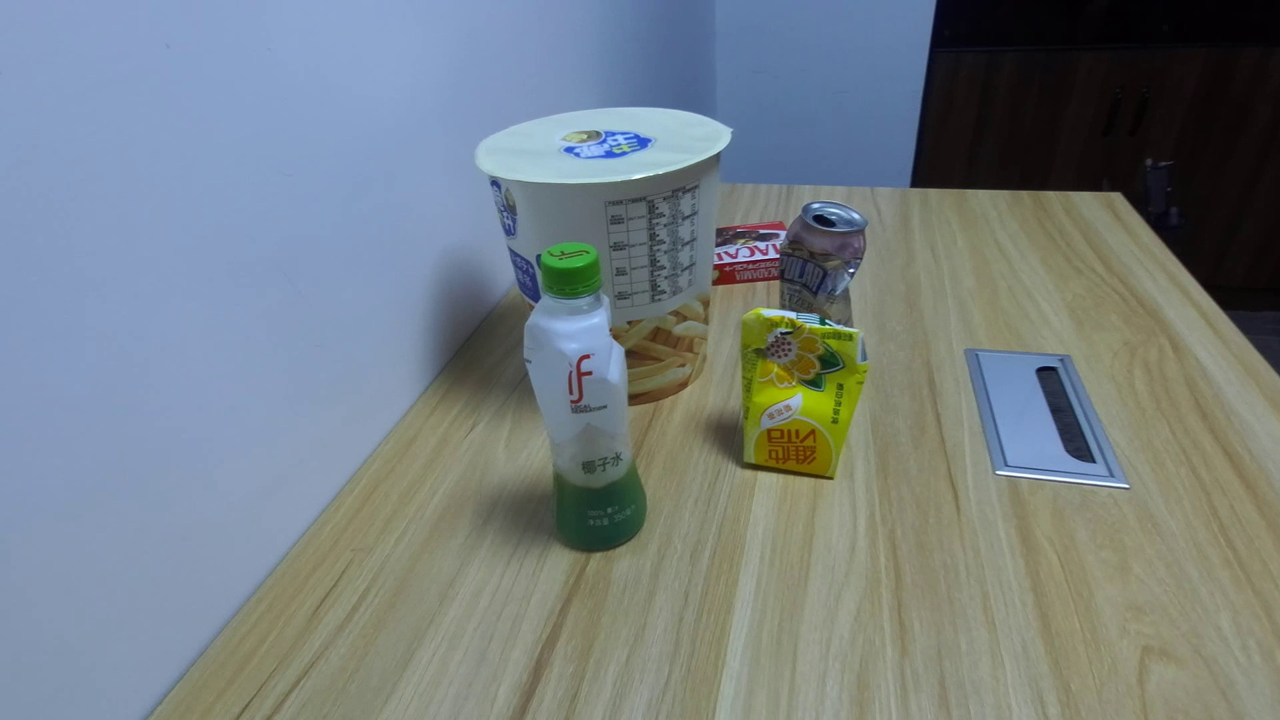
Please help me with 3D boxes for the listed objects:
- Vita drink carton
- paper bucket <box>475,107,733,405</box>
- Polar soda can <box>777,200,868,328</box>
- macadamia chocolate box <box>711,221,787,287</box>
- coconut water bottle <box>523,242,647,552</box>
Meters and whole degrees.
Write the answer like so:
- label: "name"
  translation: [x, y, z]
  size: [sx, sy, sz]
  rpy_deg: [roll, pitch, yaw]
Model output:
- label: "Vita drink carton"
  translation: [0.108, 0.019, 0.484]
  size: [0.087, 0.108, 0.042]
  rpy_deg: [9, 22, 13]
- label: "paper bucket"
  translation: [-0.020, -0.083, 0.575]
  size: [0.198, 0.195, 0.198]
  rpy_deg: [-3, 33, 3]
- label: "Polar soda can"
  translation: [0.159, -0.067, 0.603]
  size: [0.067, 0.122, 0.070]
  rpy_deg: [-16, 34, -28]
- label: "macadamia chocolate box"
  translation: [0.078, -0.113, 0.767]
  size: [0.183, 0.028, 0.105]
  rpy_deg: [-5, 34, -3]
- label: "coconut water bottle"
  translation: [-0.031, 0.026, 0.415]
  size: [0.069, 0.186, 0.069]
  rpy_deg: [-3, 32, 2]
